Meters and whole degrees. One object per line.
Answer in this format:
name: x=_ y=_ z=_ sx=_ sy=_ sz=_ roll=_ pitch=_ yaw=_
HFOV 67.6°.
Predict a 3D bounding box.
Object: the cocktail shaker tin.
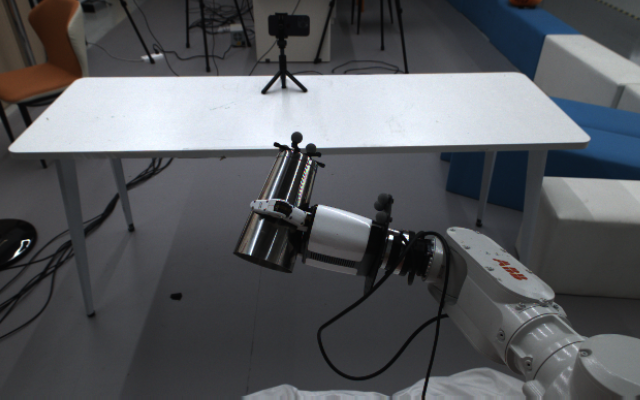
cocktail shaker tin: x=-0.061 y=0.015 z=0.732 sx=0.093 sy=0.093 sz=0.170 roll=14 pitch=74 yaw=17
